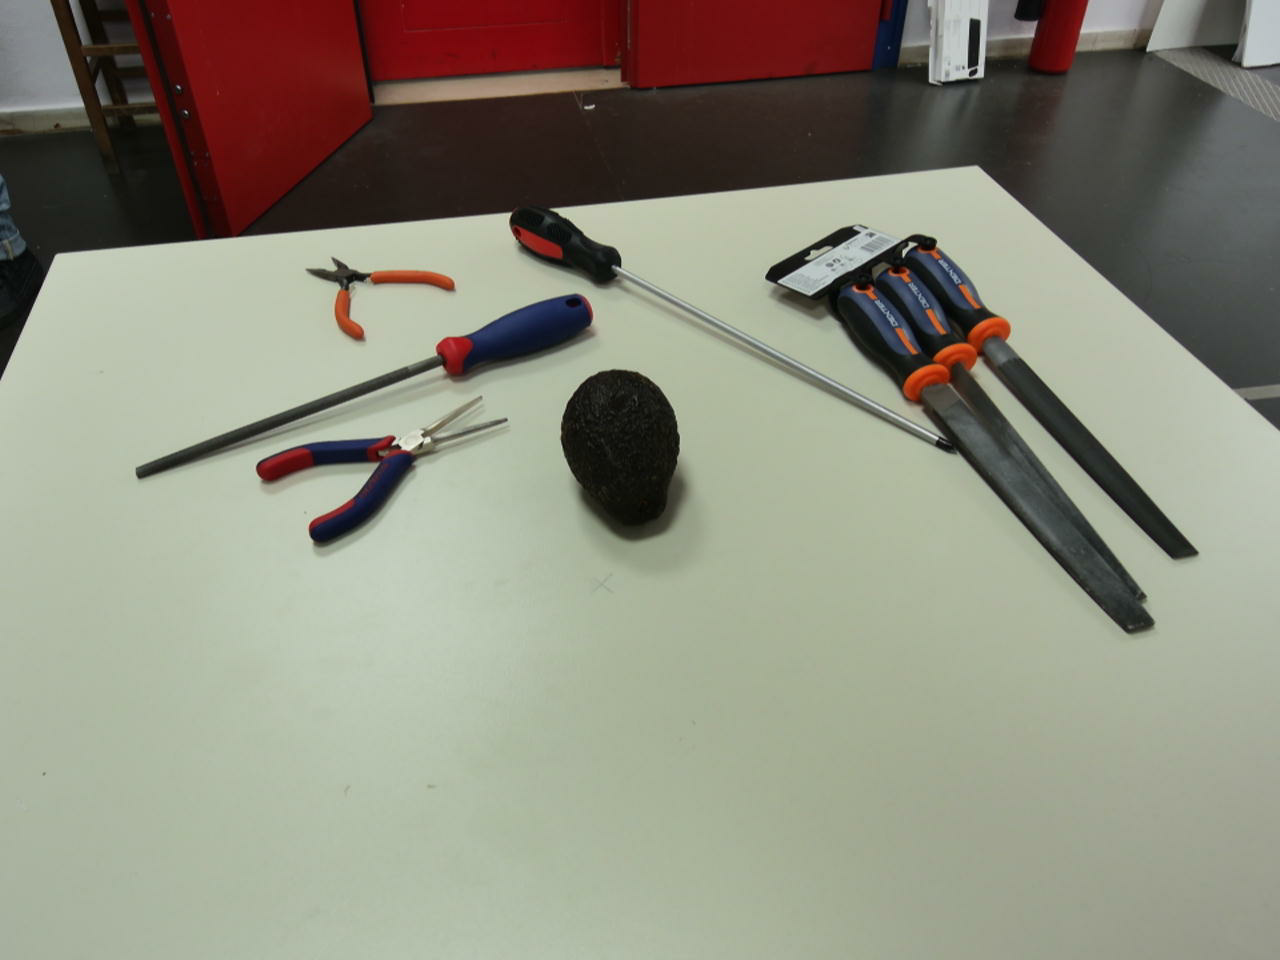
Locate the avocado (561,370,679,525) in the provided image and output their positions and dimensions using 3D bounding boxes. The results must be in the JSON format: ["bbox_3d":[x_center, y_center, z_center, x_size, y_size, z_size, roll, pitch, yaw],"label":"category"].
[{"bbox_3d":[-0.013,-0.023,0.577,0.070,0.069,0.090,7,40,10],"label":"avocado"}]
